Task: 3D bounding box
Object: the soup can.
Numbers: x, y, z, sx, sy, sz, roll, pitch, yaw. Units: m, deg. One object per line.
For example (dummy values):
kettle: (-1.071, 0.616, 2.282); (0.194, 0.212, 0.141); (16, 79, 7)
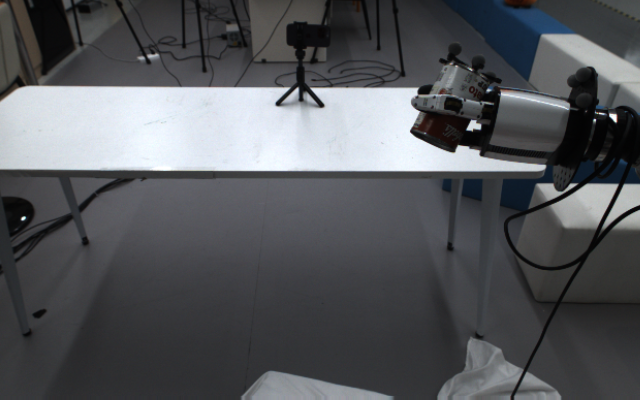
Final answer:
soup can: (0.176, -0.125, 0.652); (0.067, 0.101, 0.067); (26, 5, -3)
